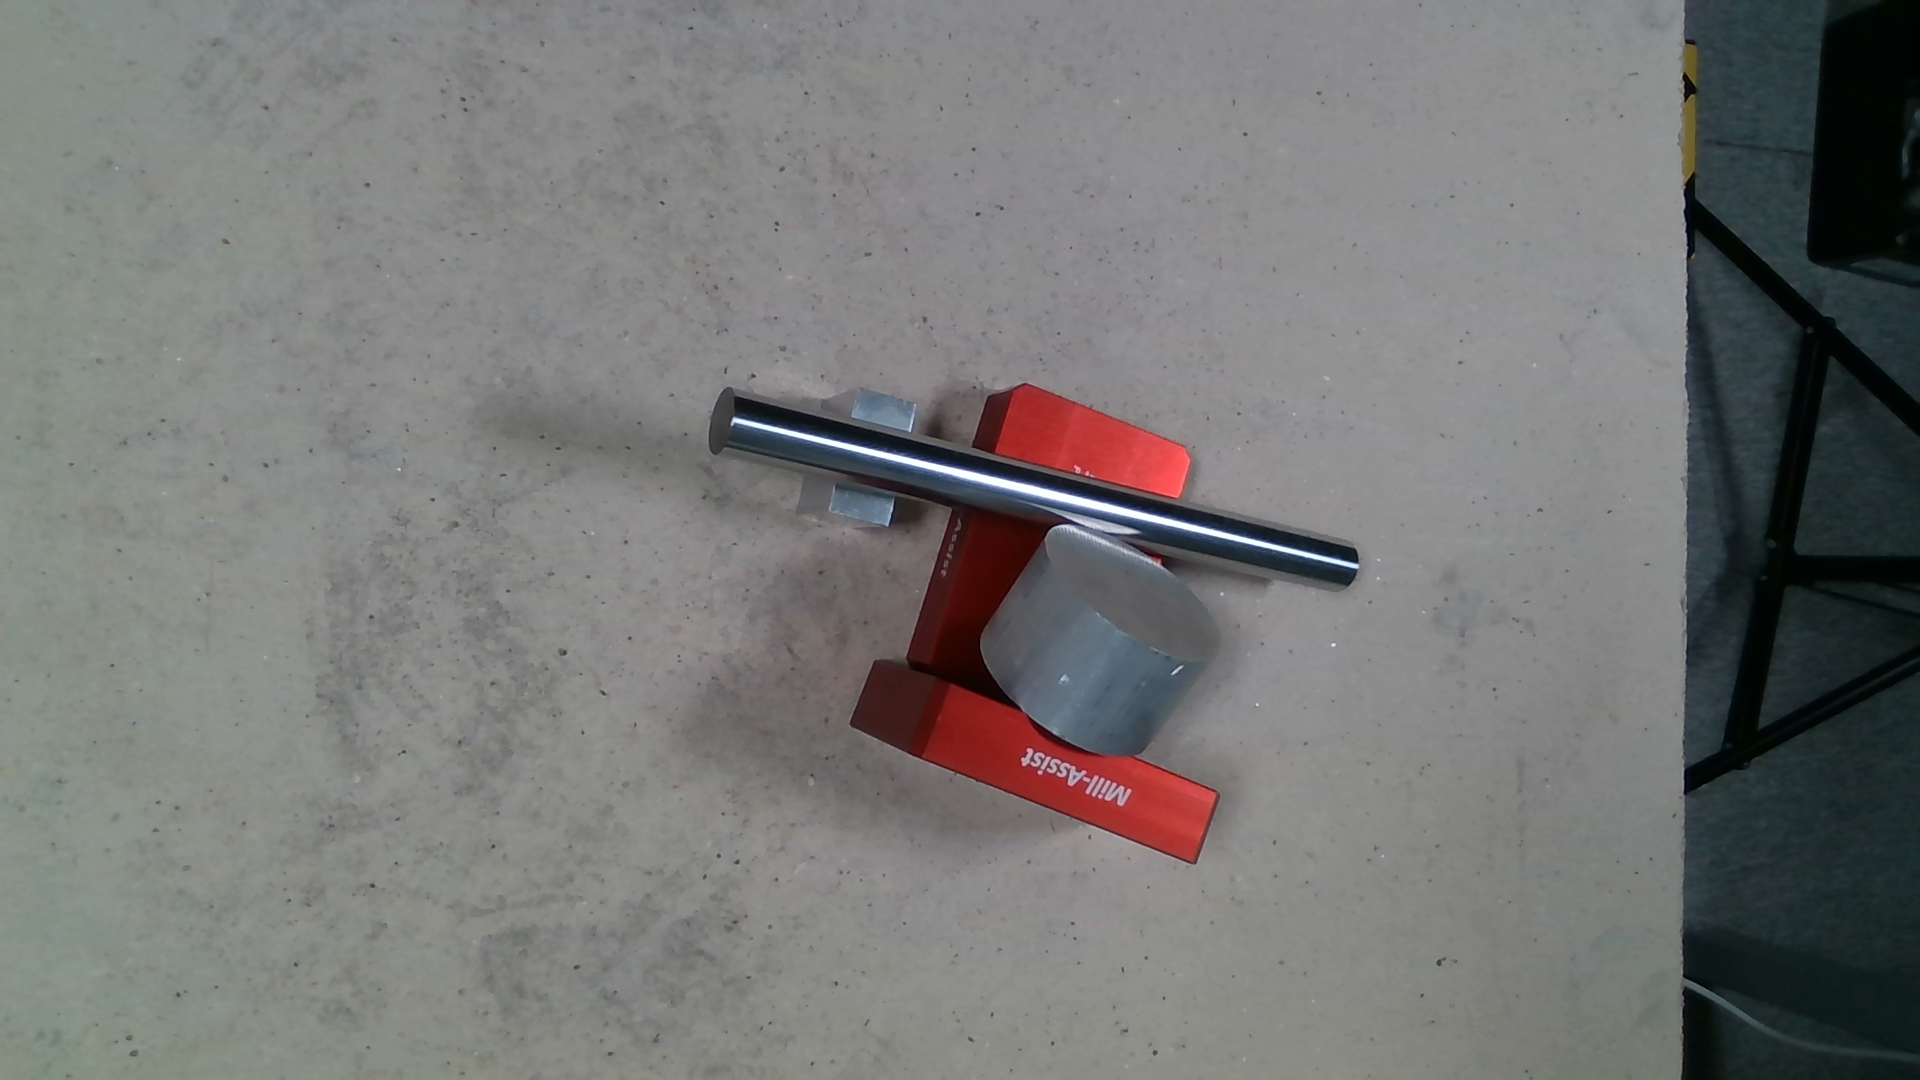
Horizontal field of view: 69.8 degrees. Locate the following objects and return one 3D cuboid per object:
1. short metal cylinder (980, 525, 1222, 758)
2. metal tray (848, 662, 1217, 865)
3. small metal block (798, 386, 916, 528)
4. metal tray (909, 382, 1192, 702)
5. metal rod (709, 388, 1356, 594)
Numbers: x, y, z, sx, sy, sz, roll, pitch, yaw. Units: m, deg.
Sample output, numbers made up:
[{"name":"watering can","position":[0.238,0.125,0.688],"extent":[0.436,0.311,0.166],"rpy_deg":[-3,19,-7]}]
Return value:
[{"name":"short metal cylinder","position":[0.055,0.039,0.538],"extent":[0.080,0.080,0.050],"rpy_deg":[24,115,-19]},{"name":"metal tray","position":[0.028,0.090,0.562],"extent":[0.130,0.090,0.030],"rpy_deg":[24,82,-19]},{"name":"small metal block","position":[-0.043,-0.032,0.557],"extent":[0.025,0.050,0.050],"rpy_deg":[13,85,-20]},{"name":"metal tray","position":[0.040,0.008,0.598],"extent":[0.090,0.030,0.130],"rpy_deg":[19,84,-19]},{"name":"metal rod","position":[0.044,-0.015,0.561],"extent":[0.300,0.025,0.025],"rpy_deg":[12,86,-29]}]
